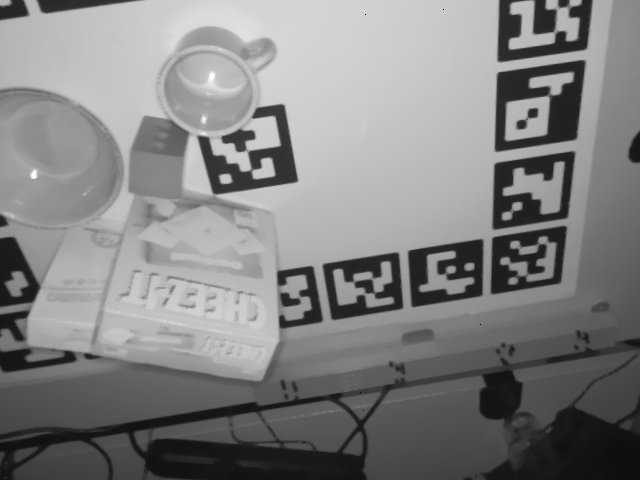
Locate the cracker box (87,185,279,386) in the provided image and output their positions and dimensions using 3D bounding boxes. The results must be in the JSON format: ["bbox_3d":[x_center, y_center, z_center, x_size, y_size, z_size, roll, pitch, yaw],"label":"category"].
[{"bbox_3d":[-0.128,0.031,0.715,0.165,0.215,0.071,18,124,-17],"label":"cracker box"}]

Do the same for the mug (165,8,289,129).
[{"bbox_3d":[-0.086,-0.169,0.656,0.117,0.082,0.093,-16,133,2],"label":"mug"}]

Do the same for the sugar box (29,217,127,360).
[{"bbox_3d":[-0.238,0.045,0.733,0.093,0.177,0.045,10,124,-13],"label":"sugar box"}]

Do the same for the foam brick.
[{"bbox_3d":[-0.159,-0.090,0.715,0.053,0.078,0.051,5,125,-10],"label":"foam brick"}]

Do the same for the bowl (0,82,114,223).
[{"bbox_3d":[-0.284,-0.097,0.690,0.162,0.055,0.160,-4,124,-4],"label":"bowl"}]
